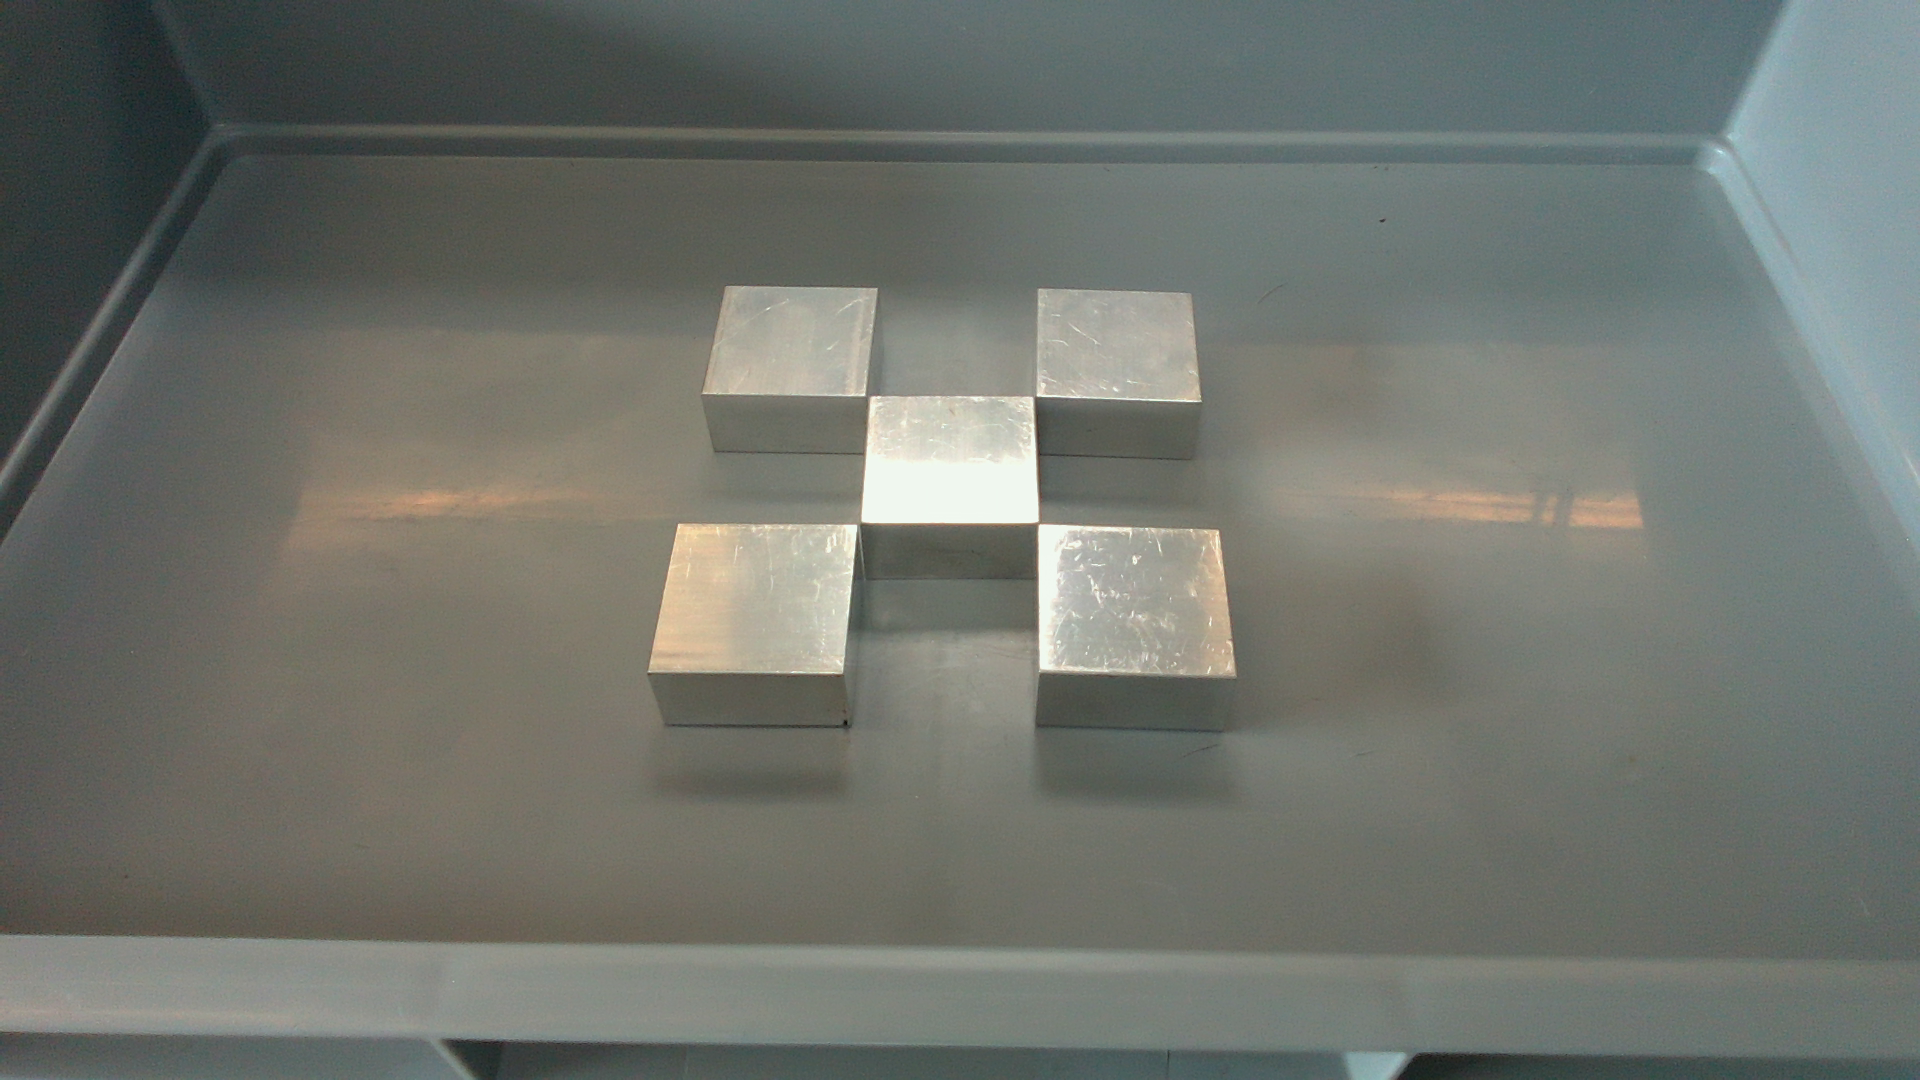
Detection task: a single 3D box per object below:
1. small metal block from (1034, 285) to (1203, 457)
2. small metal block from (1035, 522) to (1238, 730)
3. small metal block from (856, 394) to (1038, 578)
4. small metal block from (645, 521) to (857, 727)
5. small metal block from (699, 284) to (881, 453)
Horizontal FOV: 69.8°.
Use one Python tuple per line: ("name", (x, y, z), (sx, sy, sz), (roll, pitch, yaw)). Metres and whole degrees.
("small metal block", (0.048, -0.054, 0.434), (0.050, 0.025, 0.050), (2, 50, 2))
("small metal block", (0.045, 0.023, 0.370), (0.050, 0.025, 0.050), (1, 50, 1))
("small metal block", (-0.003, -0.016, 0.403), (0.050, 0.025, 0.050), (0, 50, 0))
("small metal block", (-0.054, 0.022, 0.371), (0.050, 0.025, 0.050), (1, 50, 1))
("small metal block", (-0.052, -0.055, 0.436), (0.050, 0.025, 0.050), (1, 50, 1))
